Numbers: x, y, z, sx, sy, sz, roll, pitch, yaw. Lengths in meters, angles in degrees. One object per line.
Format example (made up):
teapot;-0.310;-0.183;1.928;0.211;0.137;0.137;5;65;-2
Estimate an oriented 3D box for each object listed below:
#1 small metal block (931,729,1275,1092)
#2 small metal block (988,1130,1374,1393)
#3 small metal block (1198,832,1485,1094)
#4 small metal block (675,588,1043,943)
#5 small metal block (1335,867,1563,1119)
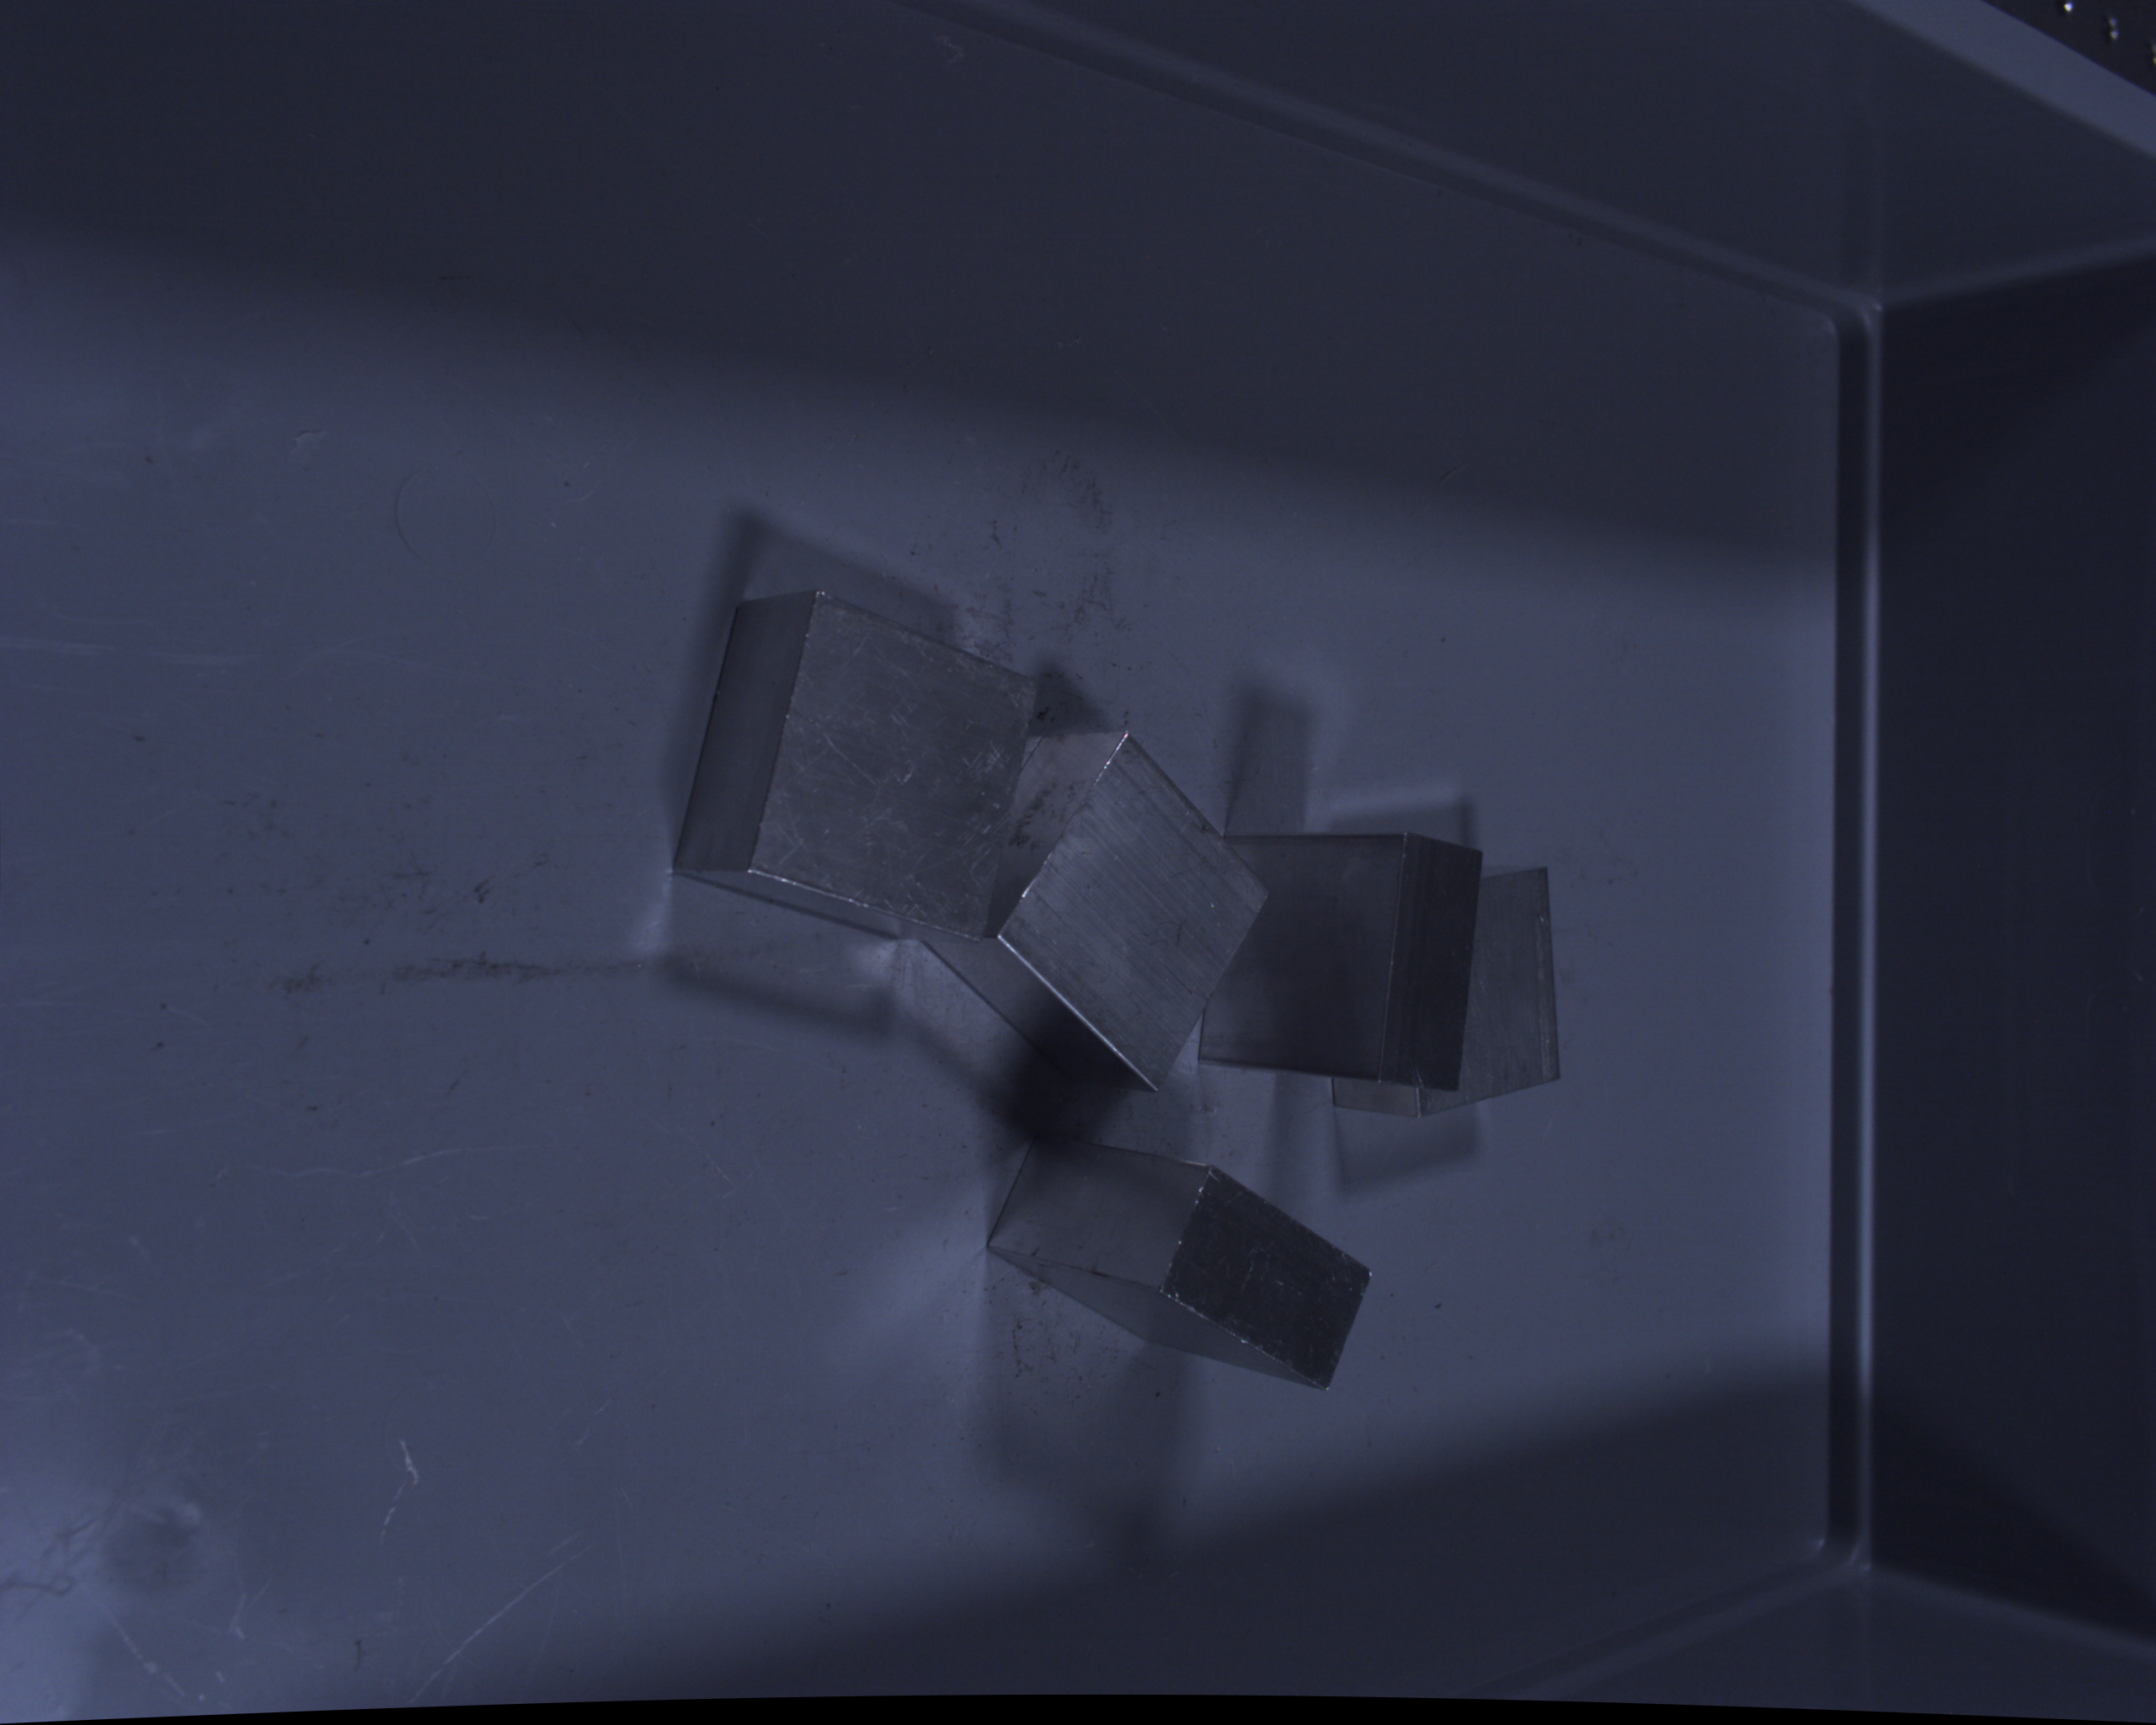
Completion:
small metal block;0.005;0.009;0.409;0.050;0.025;0.050;46;62;-30
small metal block;0.020;0.077;0.406;0.050;0.050;0.025;38;68;-35
small metal block;0.055;0.020;0.436;0.025;0.050;0.050;13;82;-40
small metal block;-0.038;-0.016;0.373;0.050;0.025;0.050;20;78;-39
small metal block;0.084;0.028;0.477;0.050;0.025;0.050;-7;95;-40
